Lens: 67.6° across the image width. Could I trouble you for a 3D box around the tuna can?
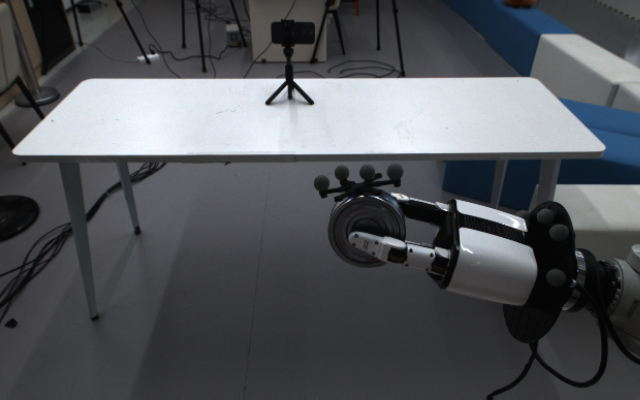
[{"bbox_3d":[0.054,0.029,0.536,0.085,0.085,0.034,6,18,5],"label":"tuna can"}]
